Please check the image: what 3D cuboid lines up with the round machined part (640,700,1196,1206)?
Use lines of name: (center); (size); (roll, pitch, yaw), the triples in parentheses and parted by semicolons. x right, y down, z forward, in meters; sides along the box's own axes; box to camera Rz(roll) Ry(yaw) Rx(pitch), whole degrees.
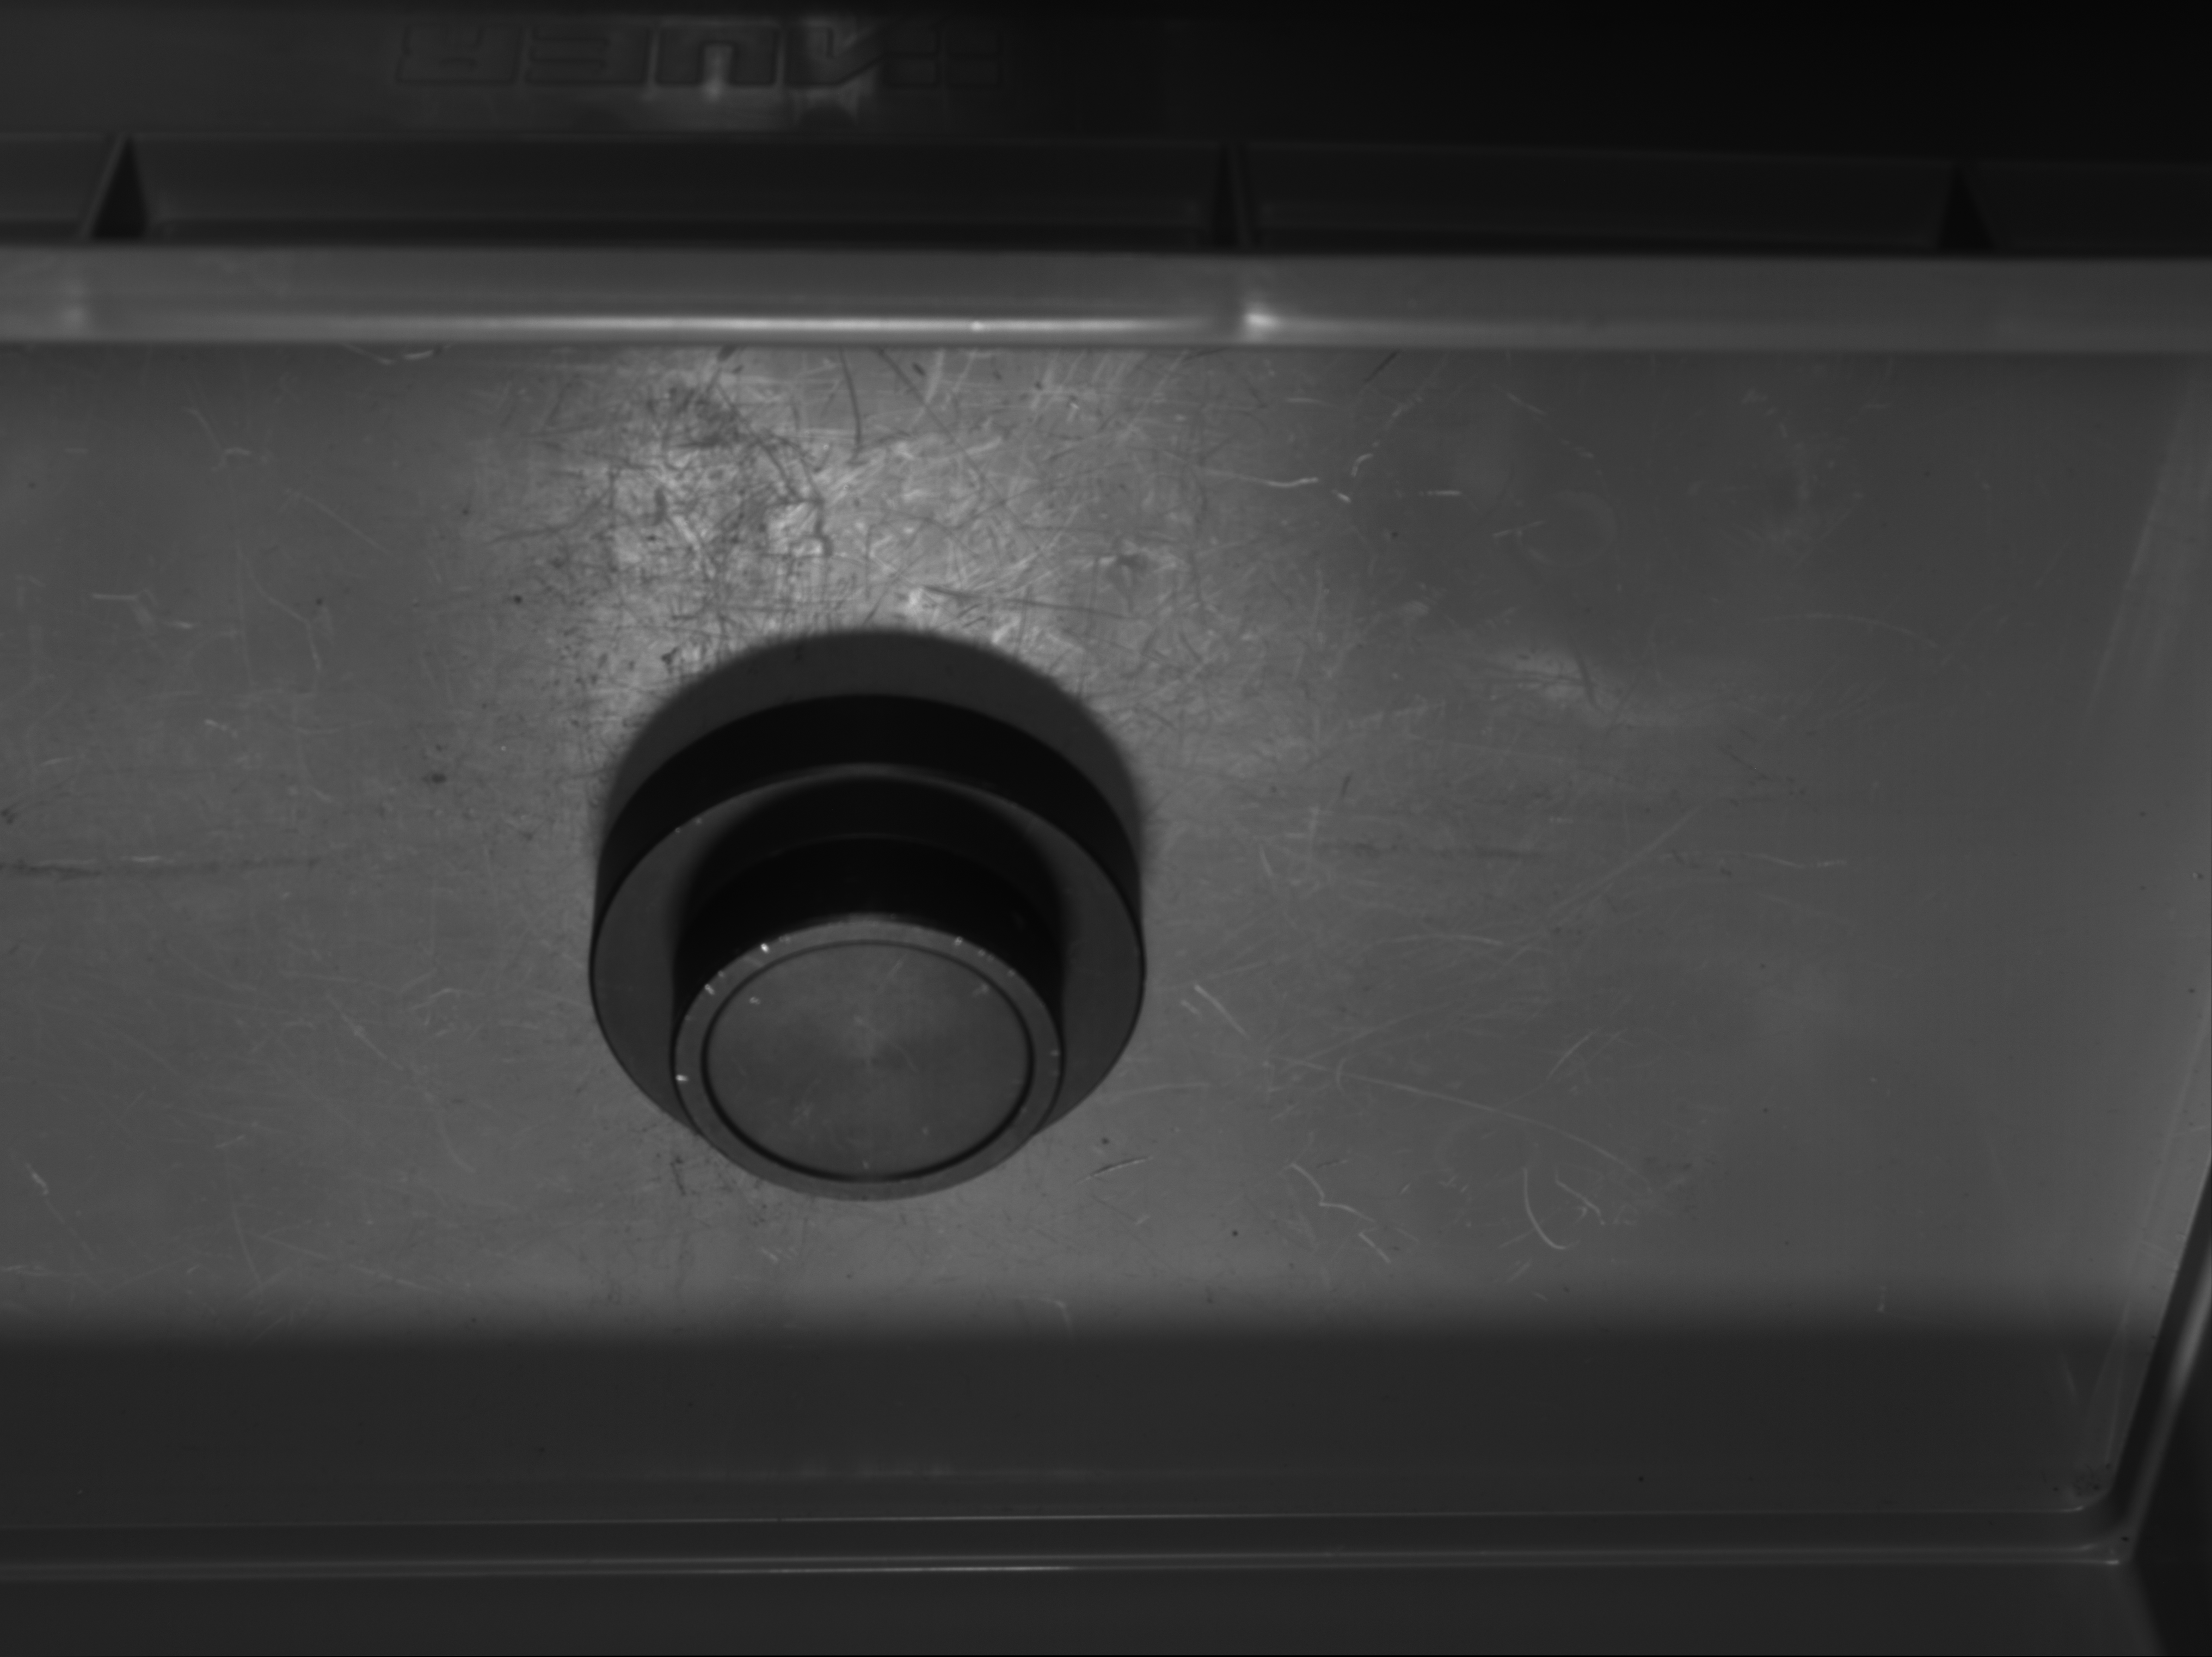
round machined part: (-0.033, 0.028, 0.646); (0.098, 0.042, 0.098); (-1, 130, -1)
